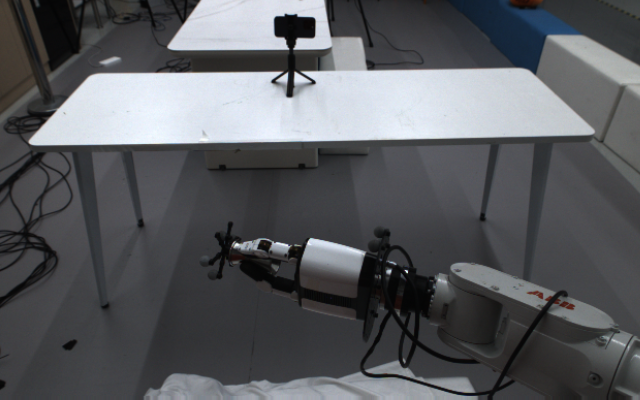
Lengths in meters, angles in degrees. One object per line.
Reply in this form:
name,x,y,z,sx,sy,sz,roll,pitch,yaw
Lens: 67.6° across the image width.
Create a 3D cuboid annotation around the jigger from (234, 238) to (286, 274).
jigger,-0.090,0.080,0.720,0.071,0.043,0.043,10,35,16
